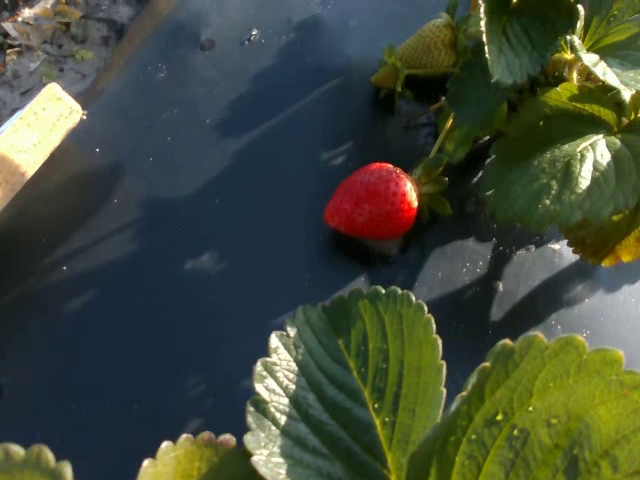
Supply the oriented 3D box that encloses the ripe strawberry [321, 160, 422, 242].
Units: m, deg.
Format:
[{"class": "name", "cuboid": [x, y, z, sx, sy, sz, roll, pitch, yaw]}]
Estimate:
[{"class": "ripe strawberry", "cuboid": [0.017, -0.011, 0.229, 0.044, 0.033, 0.030, -17, 20, -12]}]
